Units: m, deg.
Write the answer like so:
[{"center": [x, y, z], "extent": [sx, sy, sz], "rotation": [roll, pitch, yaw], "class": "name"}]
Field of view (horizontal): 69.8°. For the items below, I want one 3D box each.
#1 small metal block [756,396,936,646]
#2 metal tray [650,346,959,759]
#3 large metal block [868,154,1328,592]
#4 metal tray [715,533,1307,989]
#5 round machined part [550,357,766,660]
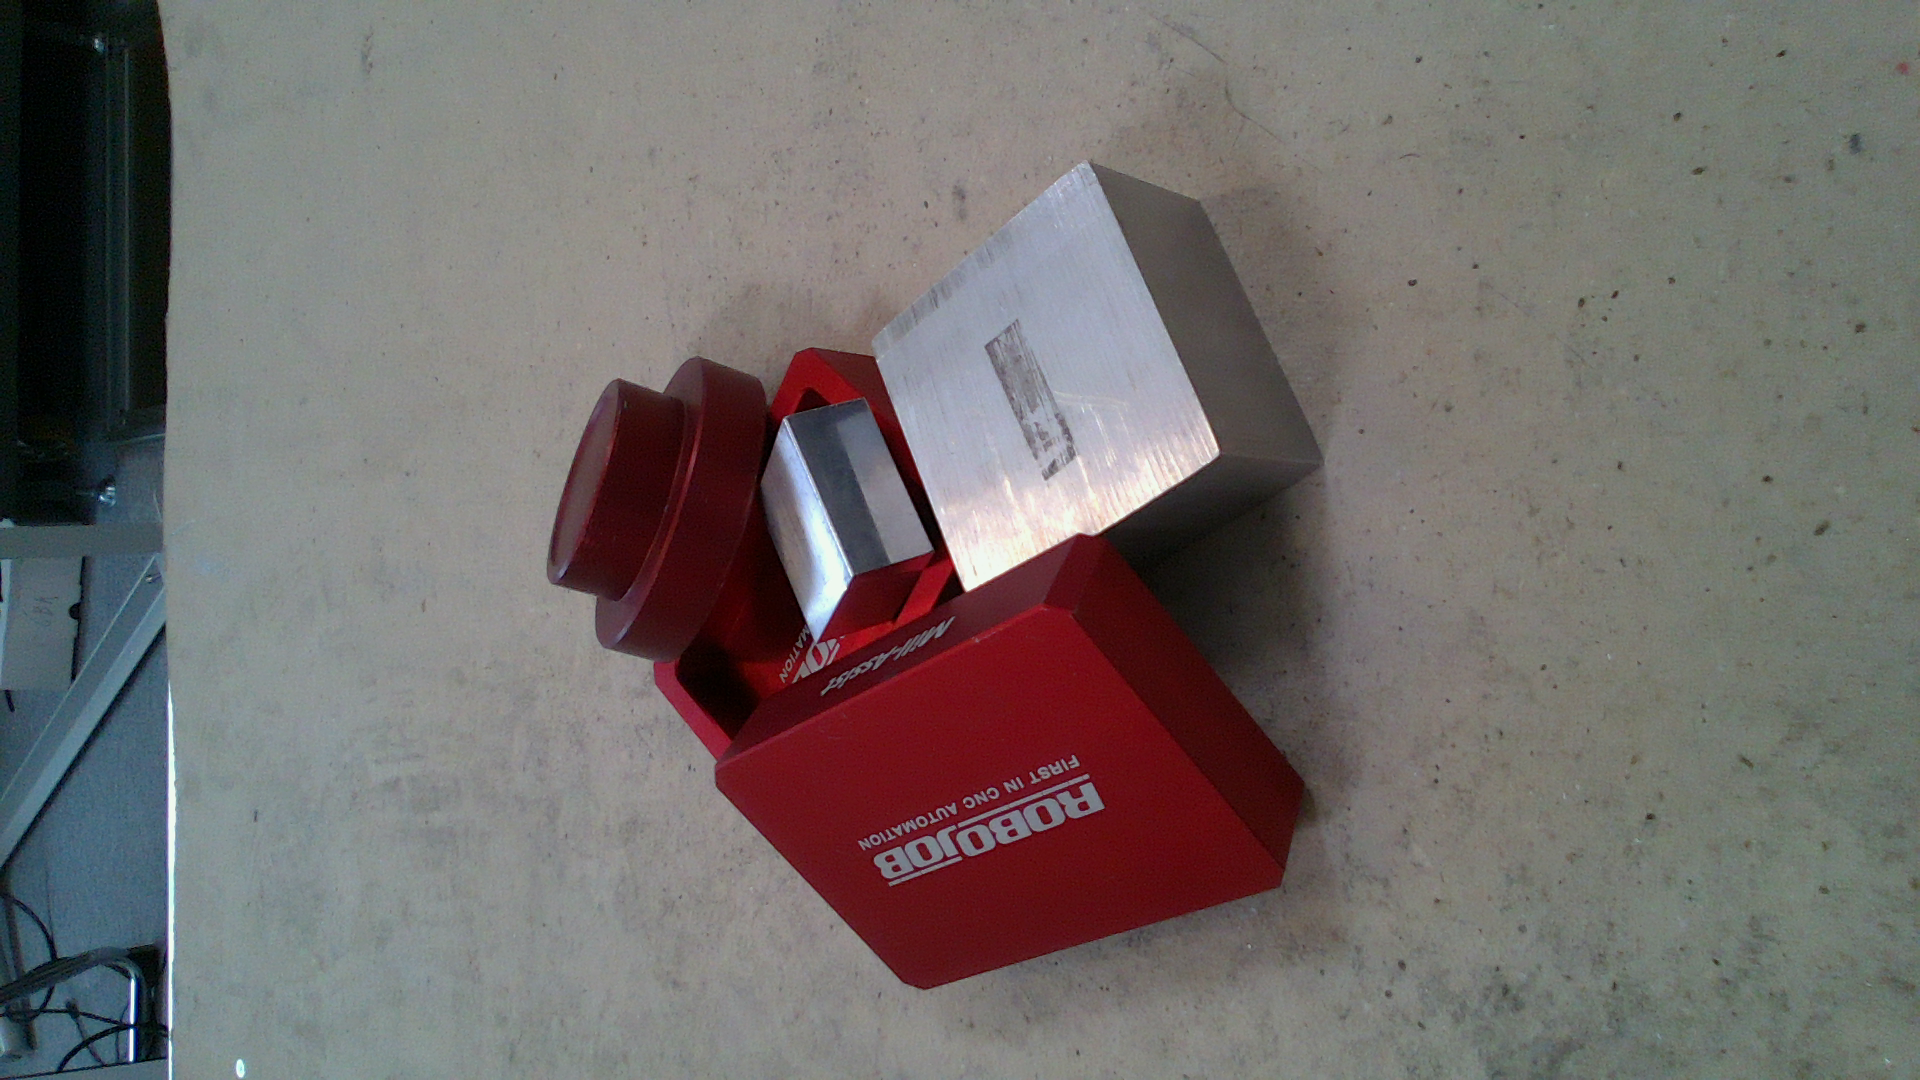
[{"center": [-0.034, -0.005, 0.394], "extent": [0.050, 0.025, 0.050], "rotation": [65, 154, 17], "class": "small metal block"}, {"center": [-0.040, 0.018, 0.424], "extent": [0.090, 0.030, 0.130], "rotation": [42, 116, 32], "class": "metal tray"}, {"center": [0.033, -0.036, 0.351], "extent": [0.080, 0.050, 0.080], "rotation": [-34, 69, 35], "class": "large metal block"}, {"center": [0.009, 0.063, 0.354], "extent": [0.130, 0.030, 0.090], "rotation": [-29, 108, 37], "class": "metal tray"}, {"center": [-0.101, -0.013, 0.441], "extent": [0.098, 0.042, 0.098], "rotation": [-46, 34, 45], "class": "round machined part"}]
